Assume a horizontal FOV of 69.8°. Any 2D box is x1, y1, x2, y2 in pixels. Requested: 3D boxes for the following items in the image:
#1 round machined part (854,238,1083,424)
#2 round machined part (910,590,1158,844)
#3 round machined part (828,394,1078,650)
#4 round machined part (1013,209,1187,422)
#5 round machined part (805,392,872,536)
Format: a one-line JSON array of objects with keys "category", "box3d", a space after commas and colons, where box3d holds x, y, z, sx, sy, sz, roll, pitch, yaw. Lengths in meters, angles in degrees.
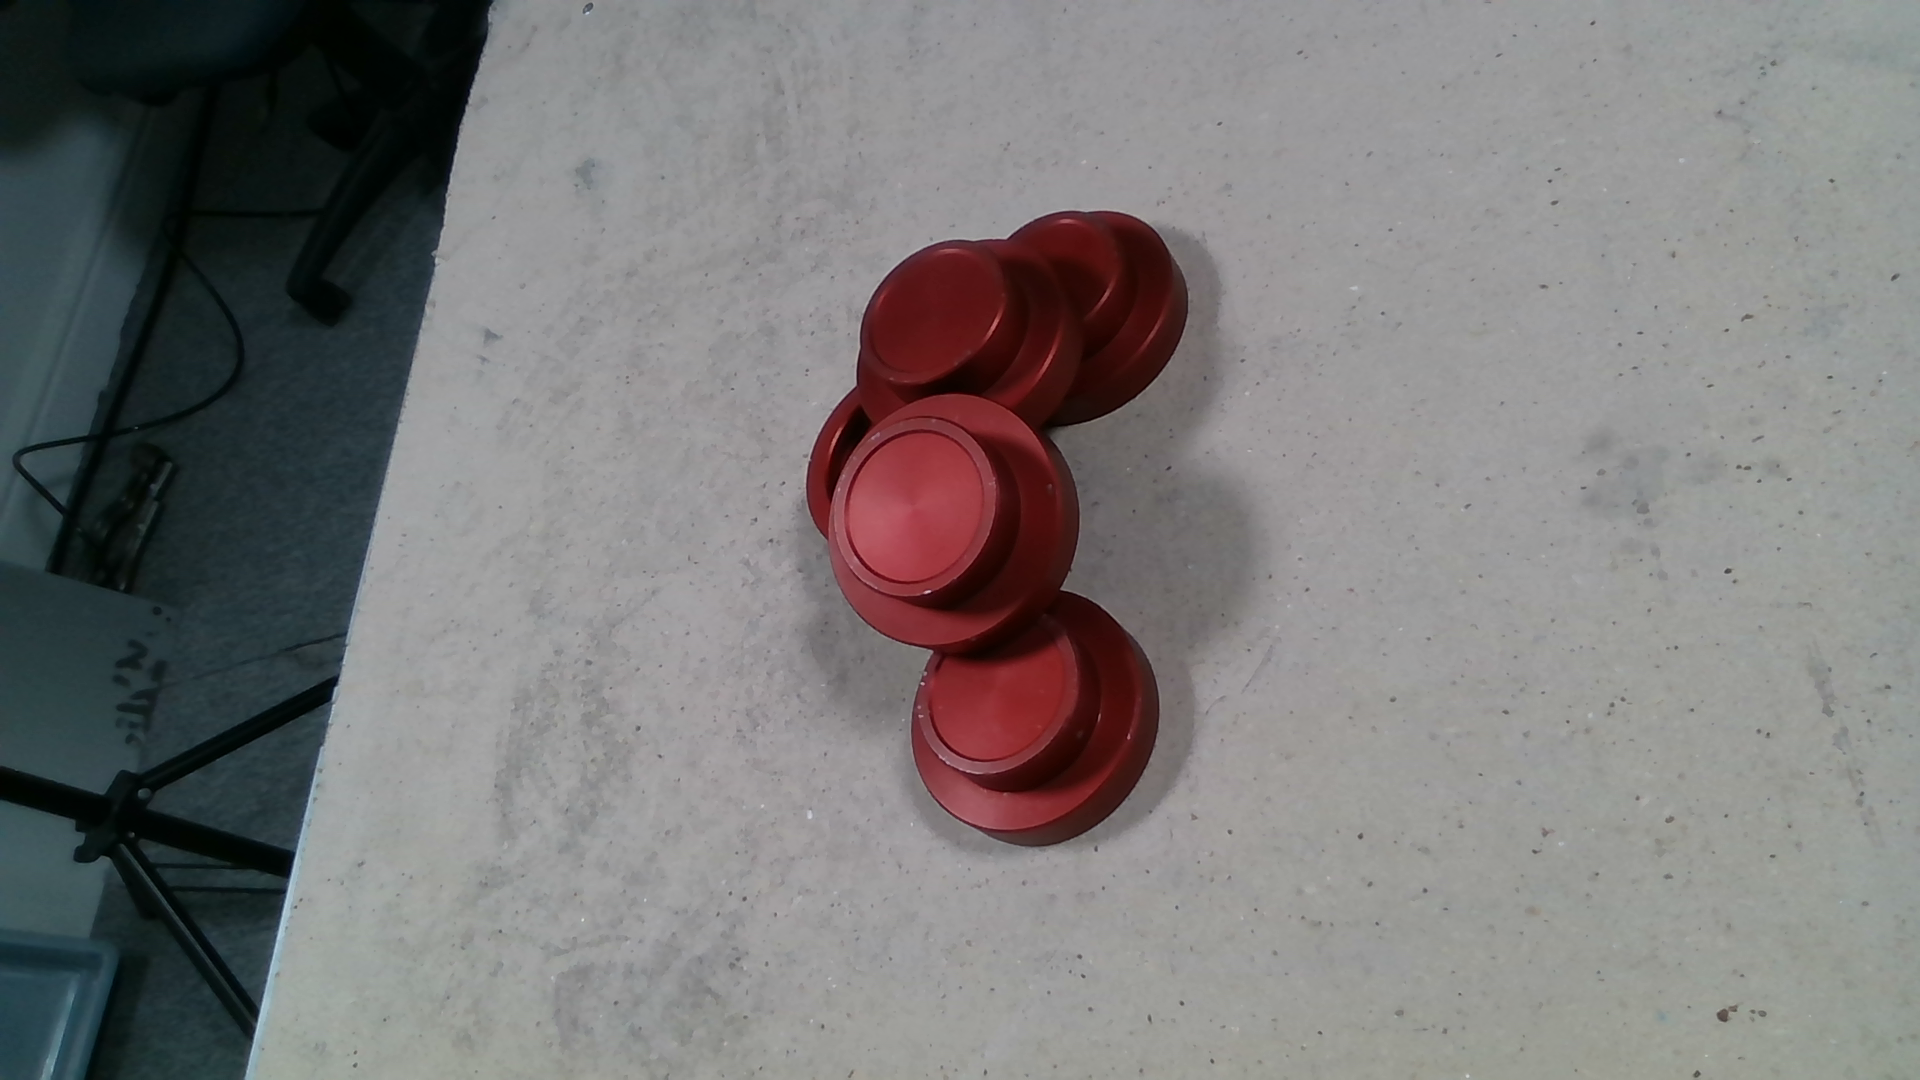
[{"category": "round machined part", "box3d": [-0.002, -0.084, 0.566, 0.098, 0.042, 0.098, -14, 59, 25]}, {"category": "round machined part", "box3d": [0.023, 0.063, 0.527, 0.098, 0.042, 0.098, -14, 59, 25]}, {"category": "round machined part", "box3d": [-0.008, -0.008, 0.517, 0.098, 0.042, 0.098, -7, 75, 26]}, {"category": "round machined part", "box3d": [0.046, -0.104, 0.601, 0.098, 0.042, 0.098, -14, 59, 25]}, {"category": "round machined part", "box3d": [-0.016, -0.030, 0.600, 0.098, 0.042, 0.098, -14, 59, 25]}]
